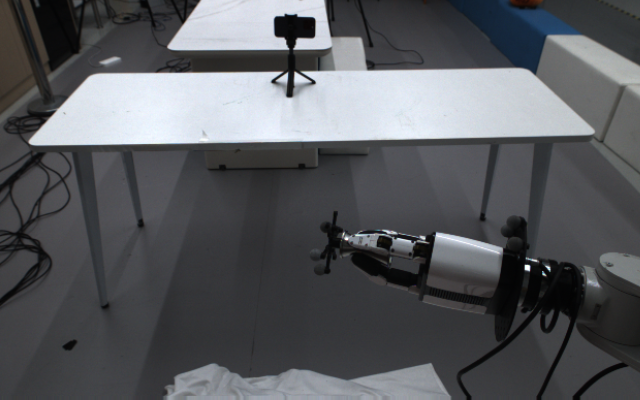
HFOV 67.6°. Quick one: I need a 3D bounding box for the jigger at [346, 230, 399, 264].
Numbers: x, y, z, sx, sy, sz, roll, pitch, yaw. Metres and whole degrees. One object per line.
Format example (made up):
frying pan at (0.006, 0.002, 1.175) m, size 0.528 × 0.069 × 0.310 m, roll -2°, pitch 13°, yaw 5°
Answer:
jigger at (0.071, 0.061, 0.656) m, size 0.071 × 0.043 × 0.043 m, roll 8°, pitch 35°, yaw 16°
